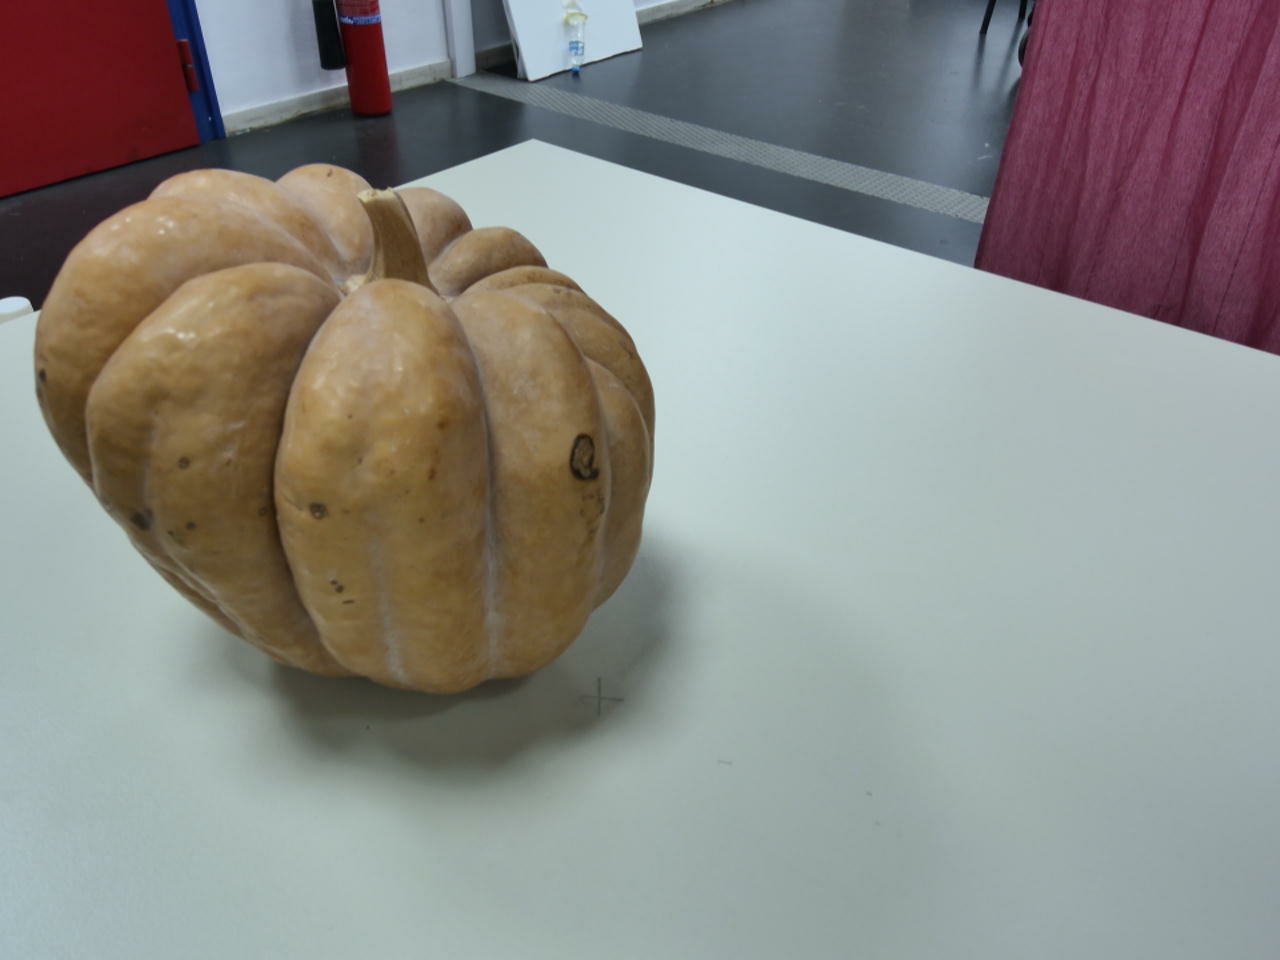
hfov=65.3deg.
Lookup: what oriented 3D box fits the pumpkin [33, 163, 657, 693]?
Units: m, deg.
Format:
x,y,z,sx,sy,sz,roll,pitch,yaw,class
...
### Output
x,y,z,sx,sy,sz,roll,pitch,yaw,class
-0.091,-0.017,0.347,0.199,0.177,0.198,1,36,-1,pumpkin
